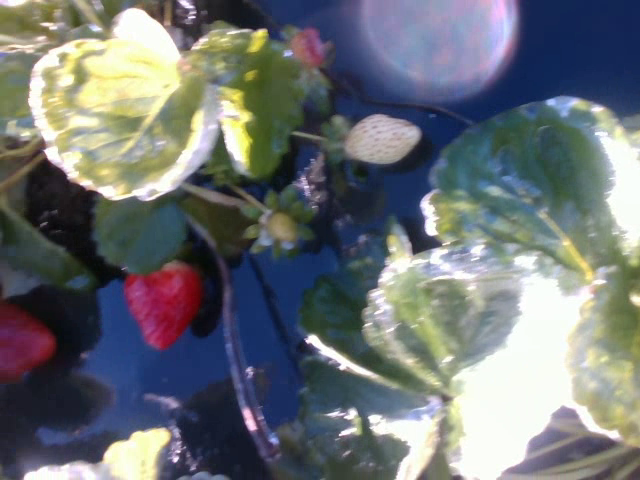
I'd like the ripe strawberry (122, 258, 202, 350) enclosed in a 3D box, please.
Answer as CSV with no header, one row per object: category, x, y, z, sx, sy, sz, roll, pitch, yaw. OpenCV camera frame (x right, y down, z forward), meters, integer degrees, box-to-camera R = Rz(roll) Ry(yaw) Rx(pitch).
ripe strawberry,-0.070,0.030,0.244,0.039,0.047,0.040,-5,-3,7
